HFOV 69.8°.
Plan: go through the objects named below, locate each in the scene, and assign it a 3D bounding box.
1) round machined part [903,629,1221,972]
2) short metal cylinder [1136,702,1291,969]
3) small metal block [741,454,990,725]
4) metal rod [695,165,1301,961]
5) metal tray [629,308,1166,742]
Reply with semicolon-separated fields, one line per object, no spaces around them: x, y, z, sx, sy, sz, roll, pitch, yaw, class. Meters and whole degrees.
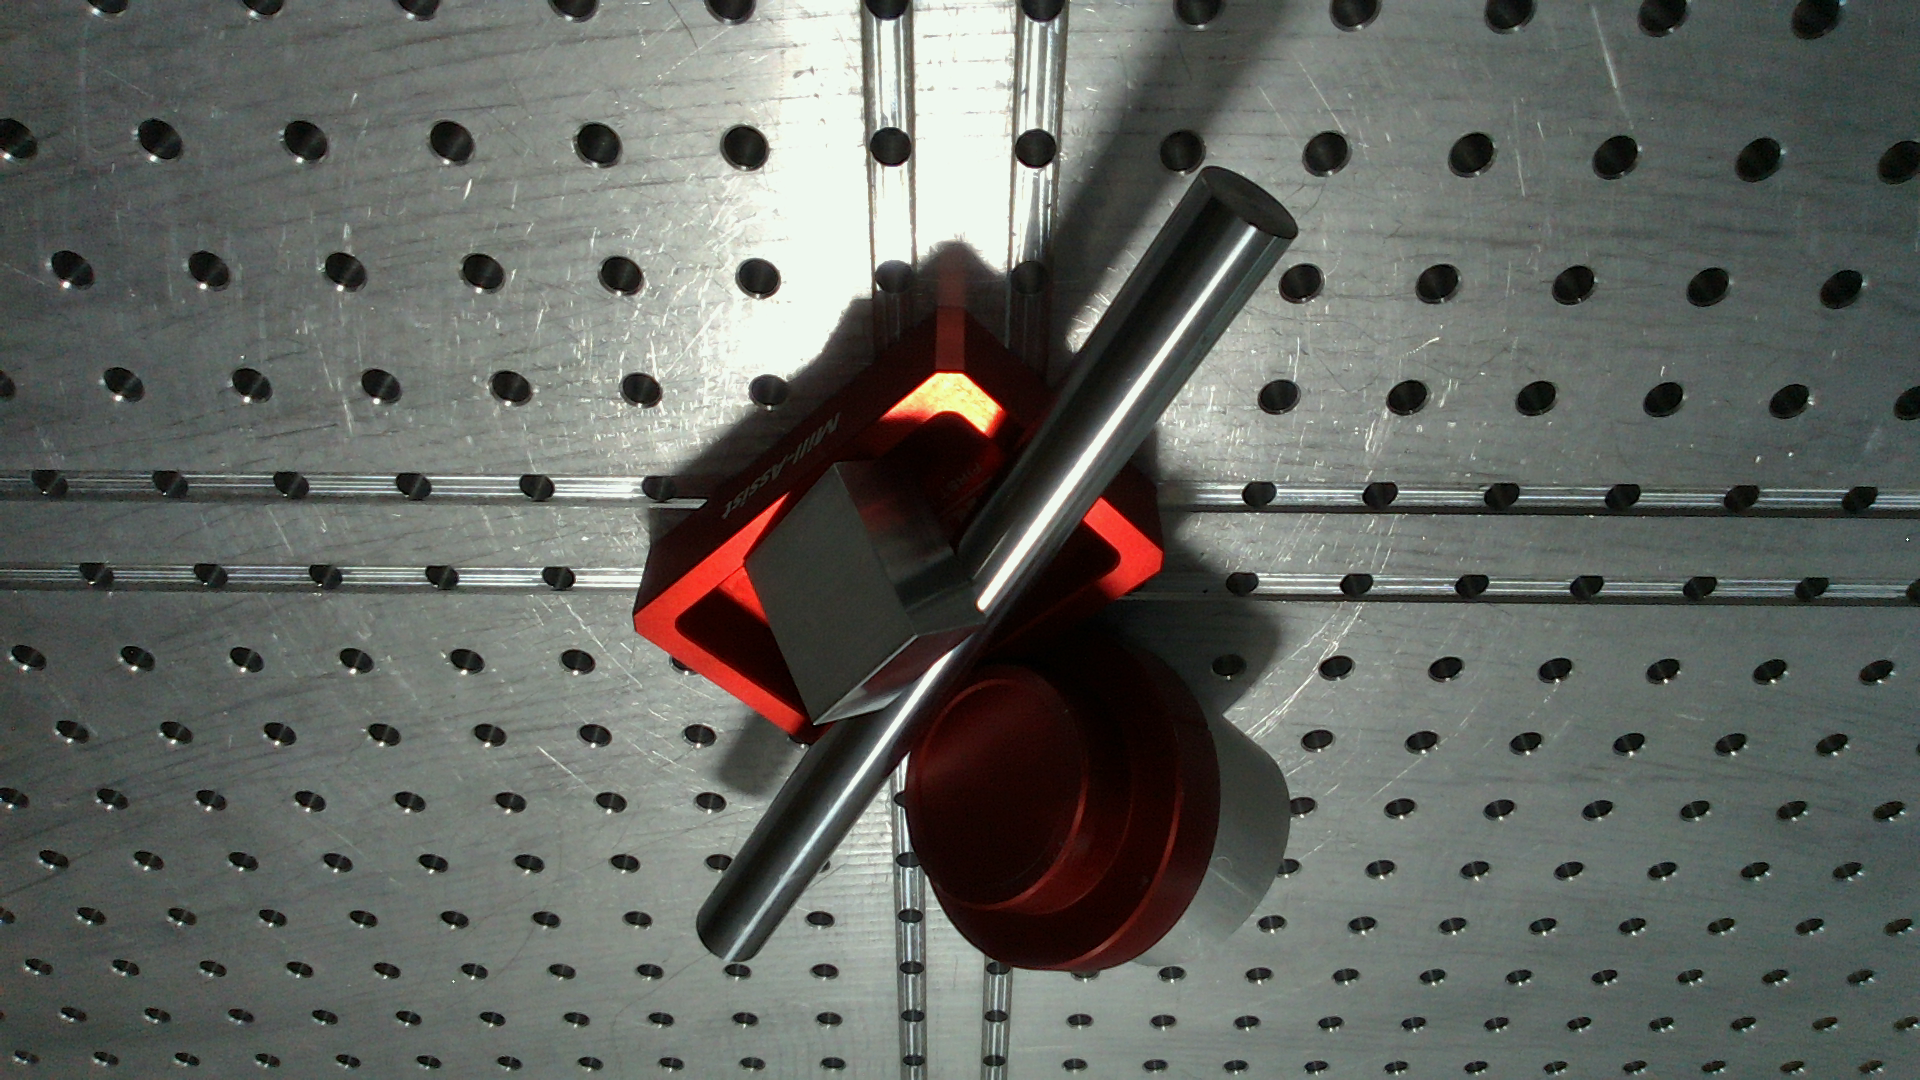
0.022;0.072;0.394;0.098;0.098;0.042;-39;142;28;round machined part
0.055;0.085;0.428;0.080;0.080;0.050;-36;121;26;short metal cylinder
-0.026;0.013;0.359;0.025;0.050;0.050;-9;155;-45;small metal block
-0.008;0.029;0.378;0.025;0.025;0.299;22;127;-18;metal rod
-0.019;0.005;0.394;0.130;0.030;0.090;-36;122;26;metal tray
